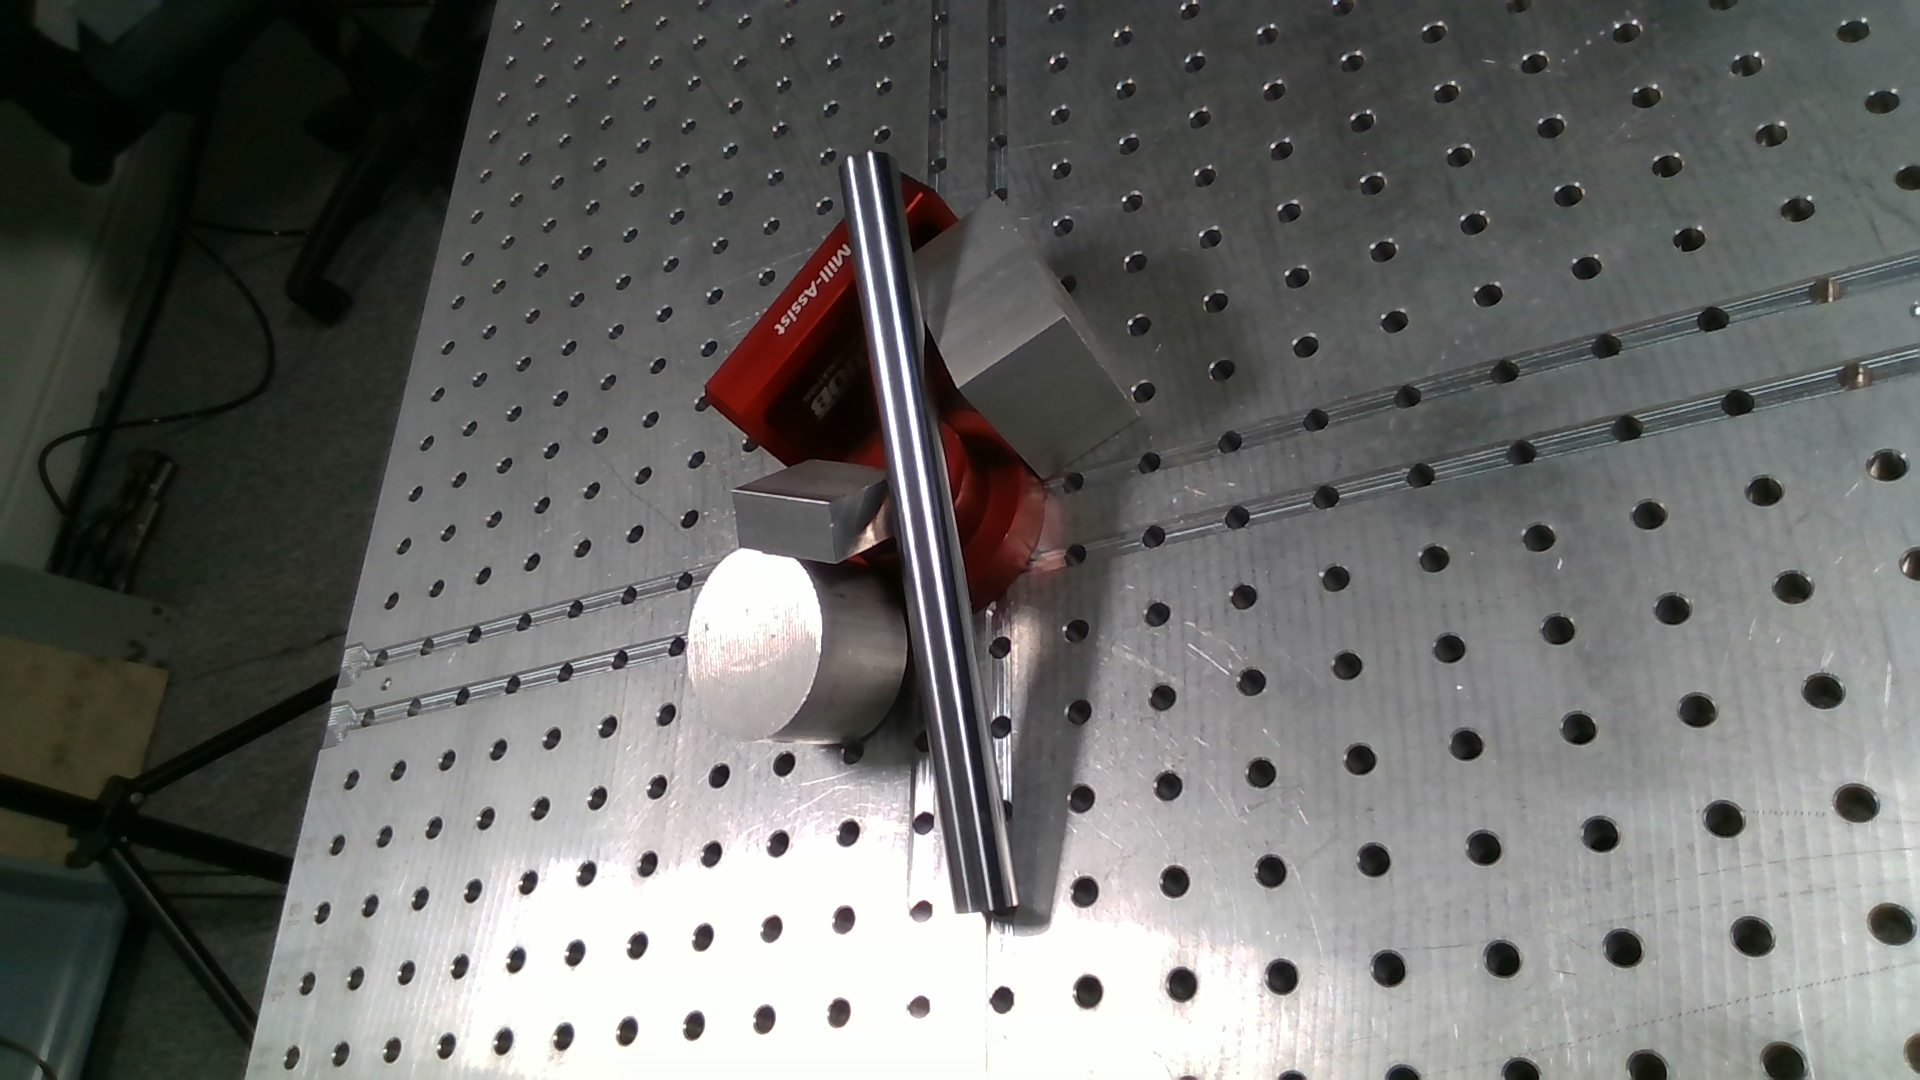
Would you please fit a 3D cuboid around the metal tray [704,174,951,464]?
[{"bbox_3d":[-0.042,-0.088,0.618,0.130,0.090,0.030,-50,51,-1],"label":"metal tray"}]

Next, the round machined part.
[{"bbox_3d":[-0.016,-0.014,0.598,0.098,0.042,0.098,-14,59,25],"label":"round machined part"}]

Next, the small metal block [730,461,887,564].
[{"bbox_3d":[-0.056,-0.013,0.557,0.050,0.050,0.025,8,112,33],"label":"small metal block"}]

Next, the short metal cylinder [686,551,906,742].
[{"bbox_3d":[-0.069,0.044,0.576,0.080,0.050,0.080,-7,79,39],"label":"short metal cylinder"}]

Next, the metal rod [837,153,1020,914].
[{"bbox_3d":[-0.014,-0.008,0.540,0.025,0.025,0.300,-14,78,25],"label":"metal rod"}]

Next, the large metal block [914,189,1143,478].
[{"bbox_3d":[0.025,-0.085,0.581,0.050,0.080,0.080,-33,53,13],"label":"large metal block"}]
